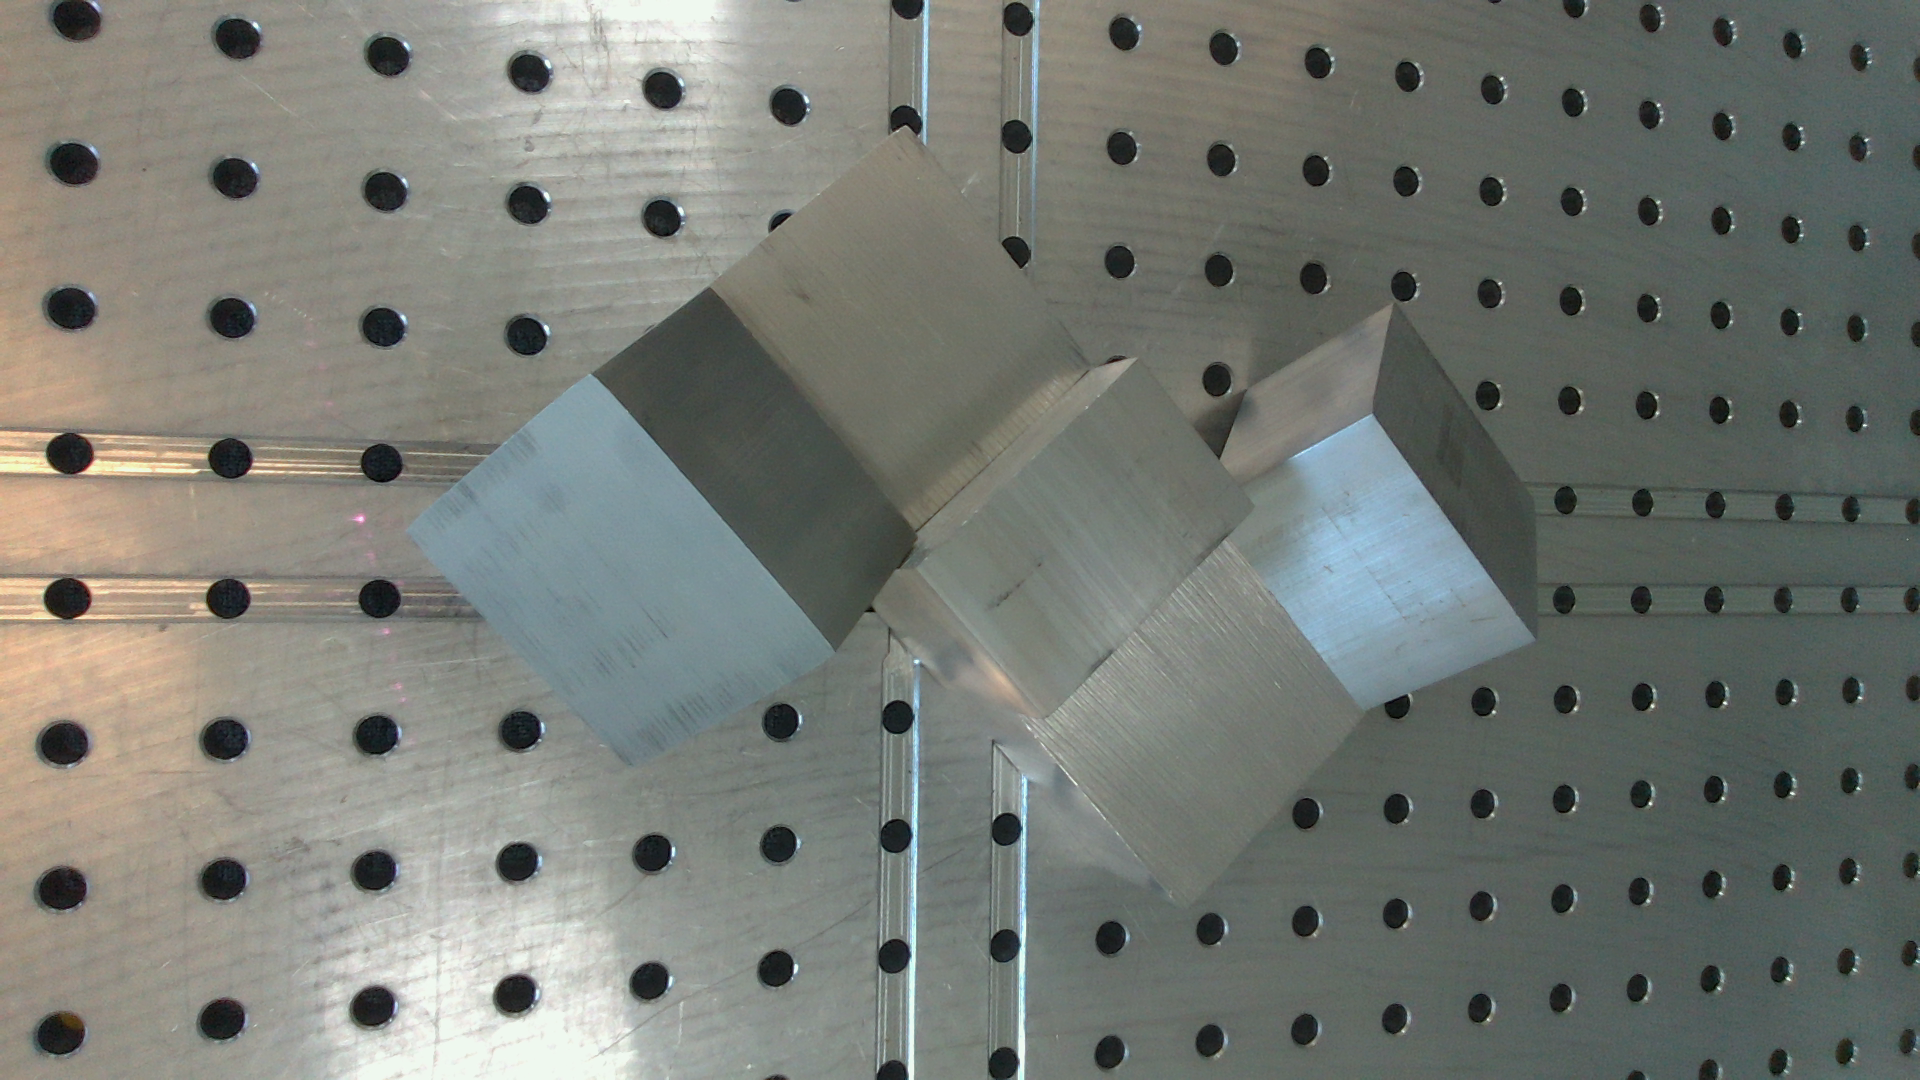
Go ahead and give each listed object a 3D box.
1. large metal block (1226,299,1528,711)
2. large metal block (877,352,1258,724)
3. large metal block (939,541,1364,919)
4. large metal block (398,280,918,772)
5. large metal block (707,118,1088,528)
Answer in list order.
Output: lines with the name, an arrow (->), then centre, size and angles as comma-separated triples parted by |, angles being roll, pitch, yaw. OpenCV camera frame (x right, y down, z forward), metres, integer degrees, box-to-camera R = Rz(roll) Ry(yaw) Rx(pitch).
large metal block -> 0.123, -0.012, 0.405 | 0.080, 0.050, 0.080 | 51, 35, -13
large metal block -> 0.019, -0.002, 0.373 | 0.080, 0.080, 0.050 | -44, 105, -15
large metal block -> 0.055, 0.048, 0.402 | 0.080, 0.050, 0.080 | -43, 102, -15
large metal block -> -0.072, -0.001, 0.333 | 0.080, 0.080, 0.050 | 51, 36, -13
large metal block -> -0.026, -0.051, 0.373 | 0.080, 0.050, 0.080 | -43, 104, -13
